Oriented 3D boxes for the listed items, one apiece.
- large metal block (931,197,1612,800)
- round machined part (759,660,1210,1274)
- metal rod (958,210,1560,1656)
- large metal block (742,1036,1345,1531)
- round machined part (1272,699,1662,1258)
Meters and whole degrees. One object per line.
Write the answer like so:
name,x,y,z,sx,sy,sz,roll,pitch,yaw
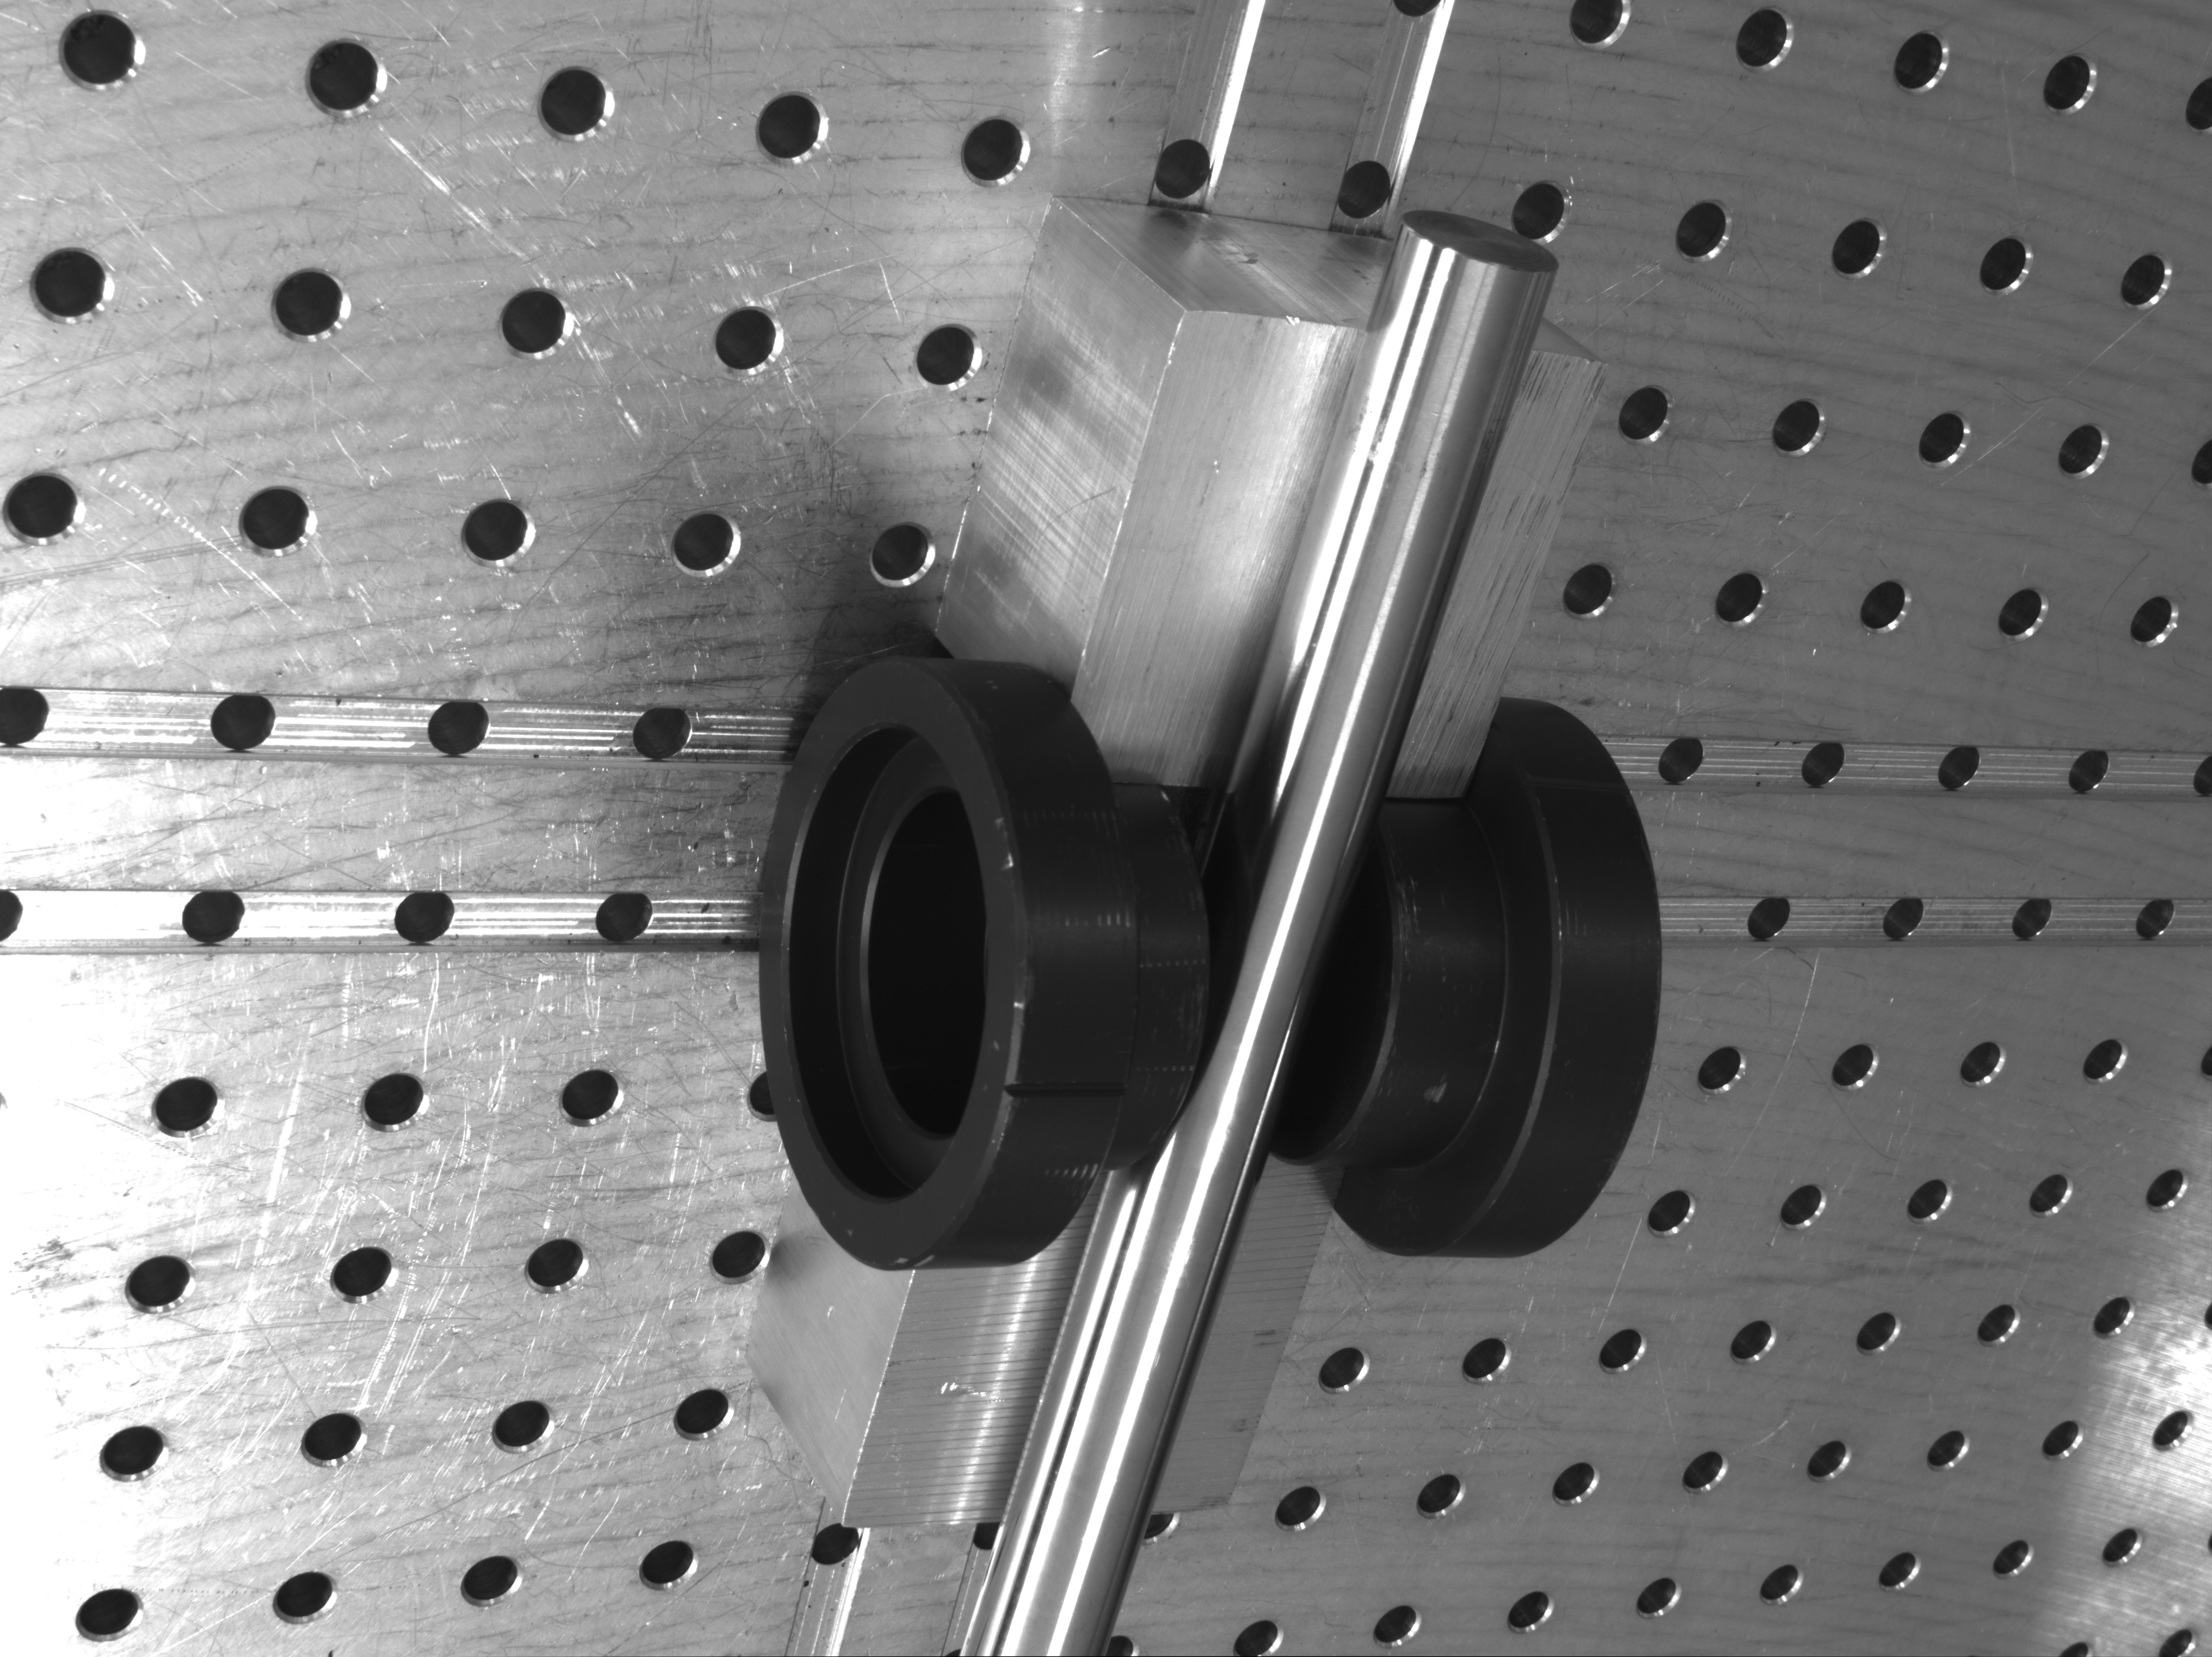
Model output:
large metal block,0.026,-0.053,0.606,0.080,0.050,0.080,2,117,-29
round machined part,-0.018,0.023,0.597,0.042,0.098,0.098,2,117,-29
metal rod,0.017,0.044,0.612,0.025,0.025,0.300,2,117,-29
large metal block,-0.012,0.077,0.665,0.080,0.050,0.080,3,117,-29
round machined part,0.052,0.025,0.637,0.042,0.098,0.098,4,116,-24
